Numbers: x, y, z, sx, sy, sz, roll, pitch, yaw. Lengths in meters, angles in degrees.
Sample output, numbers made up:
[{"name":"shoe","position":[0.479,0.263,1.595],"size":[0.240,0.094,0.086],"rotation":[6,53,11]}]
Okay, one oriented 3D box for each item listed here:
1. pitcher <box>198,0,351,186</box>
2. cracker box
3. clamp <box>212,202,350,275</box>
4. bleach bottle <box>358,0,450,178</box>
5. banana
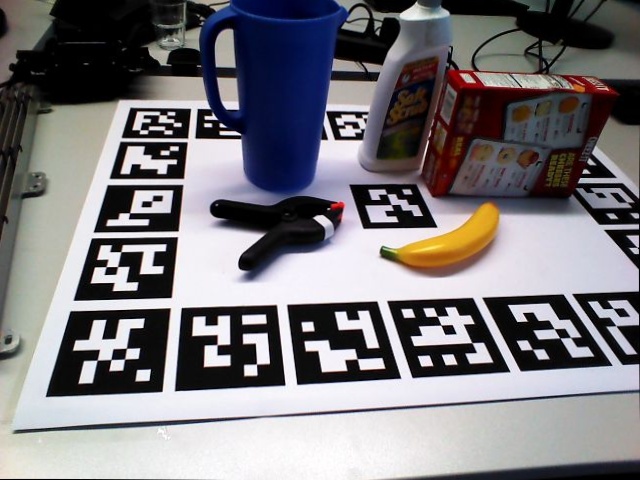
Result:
[{"name":"pitcher","position":[-0.058,-0.193,0.660],"size":[0.188,0.243,0.133],"rotation":[-13,42,-25]},{"name":"cracker box","position":[0.281,-0.147,0.716],"size":[0.214,0.165,0.071],"rotation":[-2,37,-7]},{"name":"clamp","position":[-0.037,-0.014,0.640],"size":[0.164,0.037,0.122],"rotation":[-12,41,-23]},{"name":"bleach bottle","position":[0.119,-0.210,0.732],"size":[0.102,0.252,0.067],"rotation":[-2,39,-9]},{"name":"banana","position":[0.183,-0.001,0.661],"size":[0.196,0.039,0.074],"rotation":[-28,49,-34]}]
